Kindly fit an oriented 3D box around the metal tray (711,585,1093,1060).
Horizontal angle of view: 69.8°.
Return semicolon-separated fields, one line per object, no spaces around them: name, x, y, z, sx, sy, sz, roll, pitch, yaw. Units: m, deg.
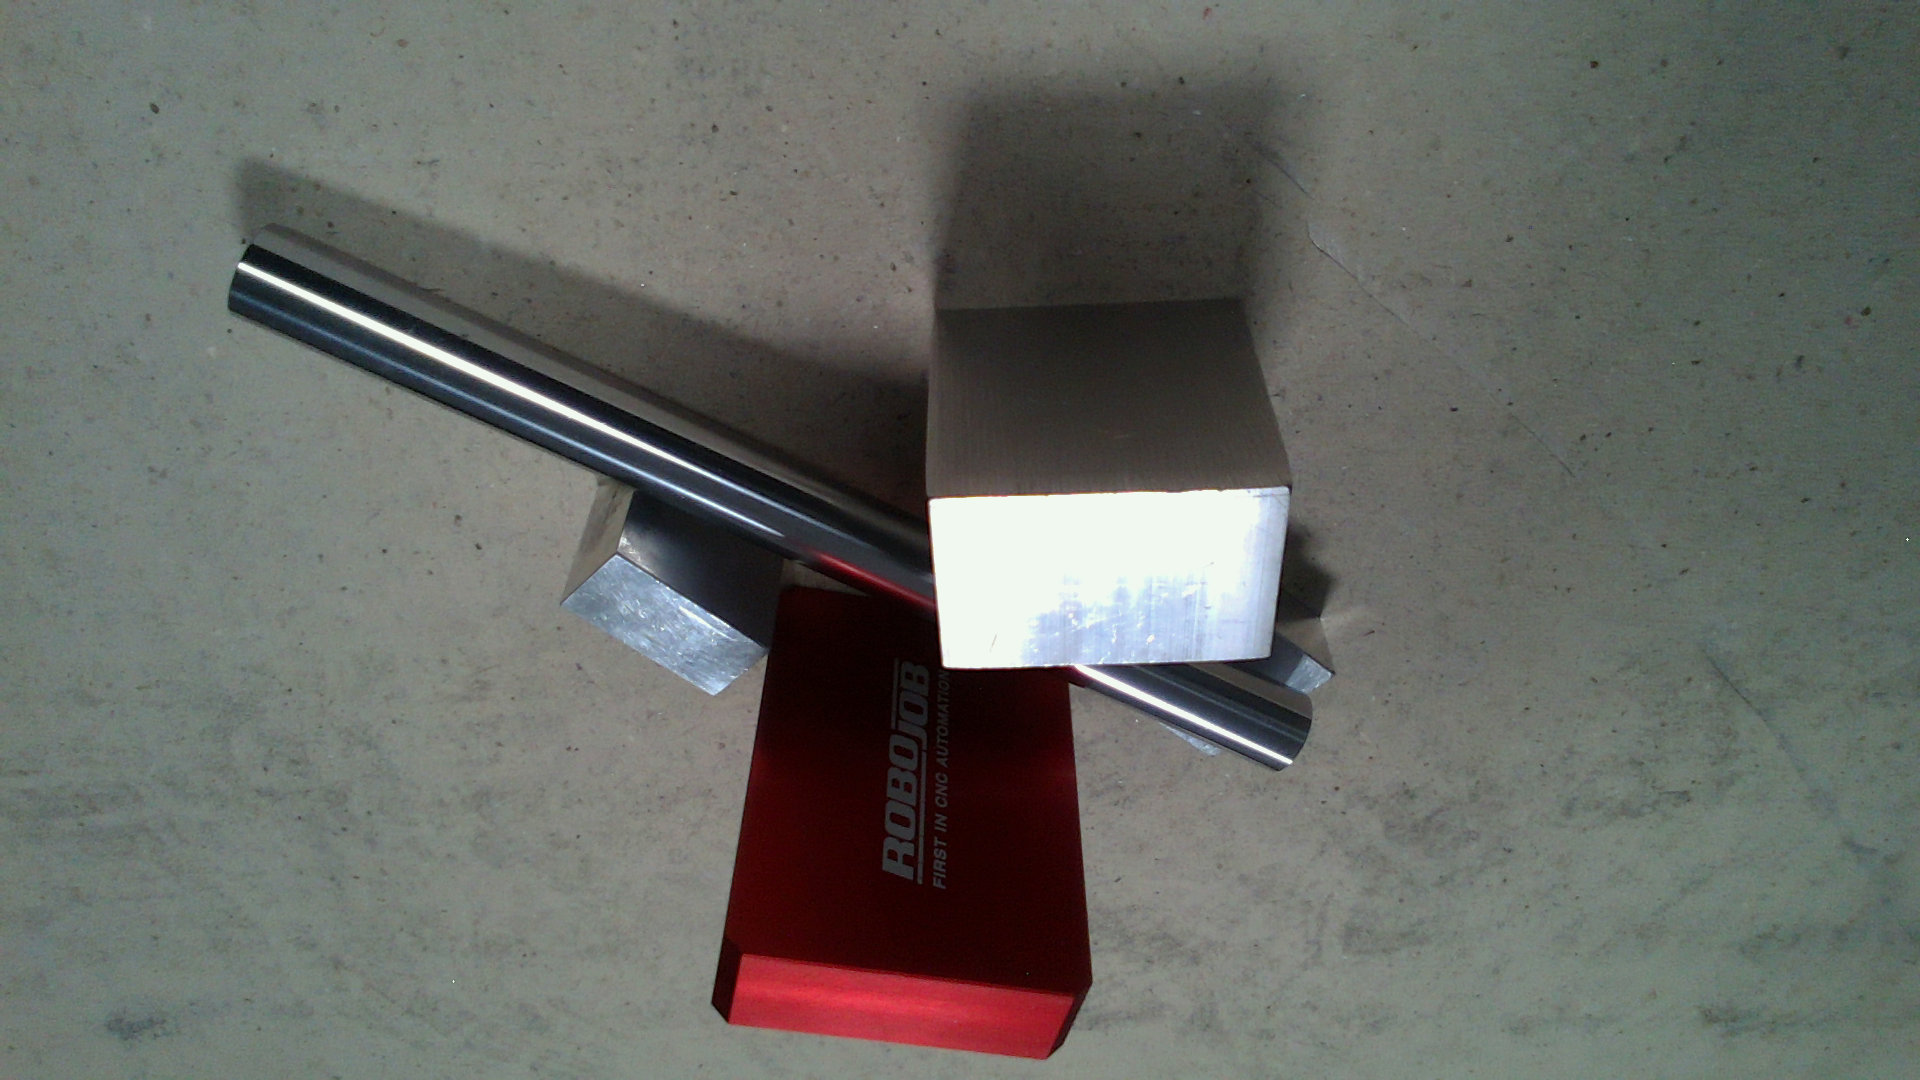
metal tray;-0.014;0.073;0.383;0.090;0.130;0.030;10;129;-8

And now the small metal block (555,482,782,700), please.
small metal block;-0.078;0.008;0.379;0.050;0.050;0.025;37;121;-27

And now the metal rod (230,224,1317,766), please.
metal rod;-0.037;-0.006;0.368;0.300;0.025;0.025;24;126;-13

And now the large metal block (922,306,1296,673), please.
large metal block;0.033;-0.014;0.341;0.080;0.080;0.050;-2;130;1

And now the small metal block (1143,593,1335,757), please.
small metal block;0.076;0.033;0.420;0.050;0.025;0.050;34;122;-25
